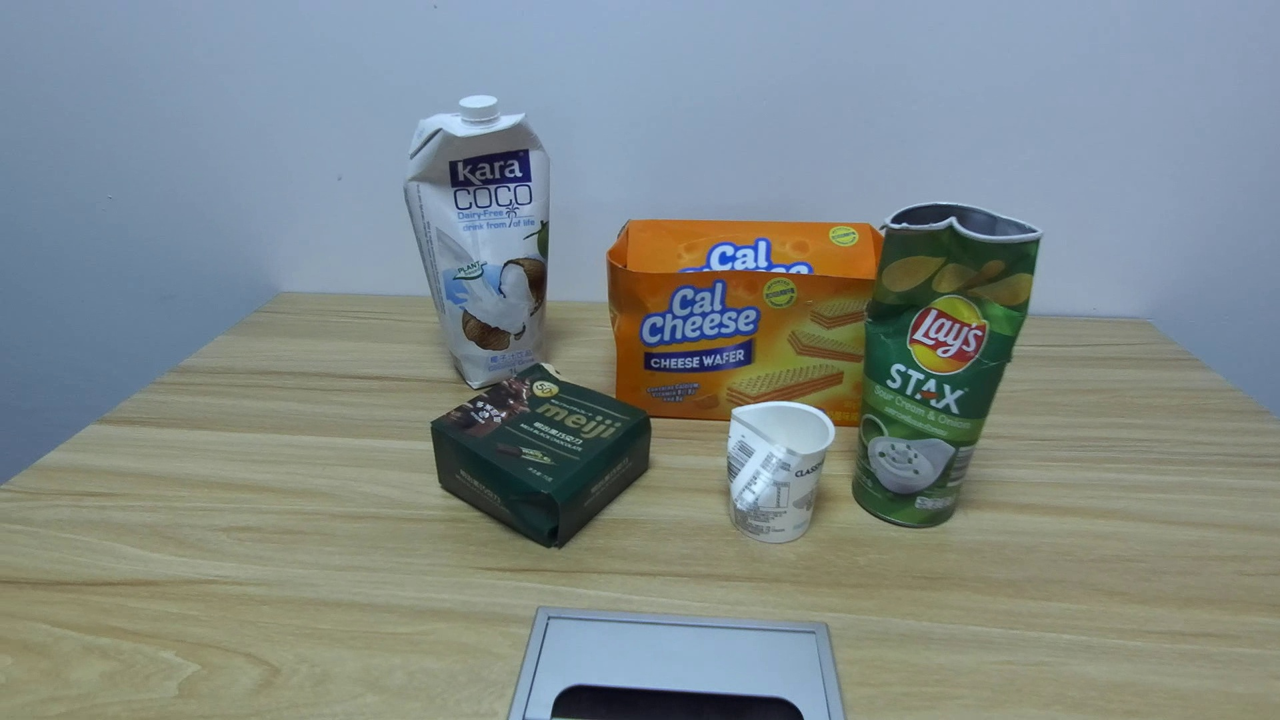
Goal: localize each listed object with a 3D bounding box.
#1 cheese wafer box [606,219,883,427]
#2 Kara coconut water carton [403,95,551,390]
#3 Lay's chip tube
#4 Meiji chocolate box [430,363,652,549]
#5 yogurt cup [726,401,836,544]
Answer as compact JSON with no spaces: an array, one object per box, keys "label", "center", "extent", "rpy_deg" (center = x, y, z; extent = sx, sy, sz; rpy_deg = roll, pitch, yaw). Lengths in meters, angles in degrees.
[{"label":"cheese wafer box","center":[0.090,-0.035,0.602],"extent":[0.230,0.132,0.152],"rpy_deg":[3,29,3]},{"label":"Kara coconut water carton","center":[-0.131,-0.097,0.599],"extent":[0.115,0.238,0.069],"rpy_deg":[-13,32,-23]},{"label":"Lay's chip tube","center":[0.182,0.006,0.443],"extent":[0.077,0.201,0.069],"rpy_deg":[1,27,8]},{"label":"Meiji chocolate box","center":[-0.065,0.063,0.493],"extent":[0.115,0.058,0.123],"rpy_deg":[21,35,30]},{"label":"yogurt cup","center":[0.088,0.071,0.453],"extent":[0.067,0.070,0.067],"rpy_deg":[-1,27,1]}]
